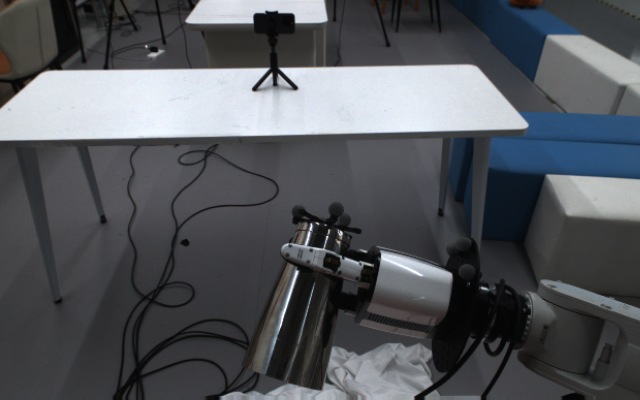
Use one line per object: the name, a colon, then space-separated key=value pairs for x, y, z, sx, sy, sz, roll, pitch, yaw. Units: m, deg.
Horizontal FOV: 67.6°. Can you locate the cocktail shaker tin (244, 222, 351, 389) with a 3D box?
cocktail shaker tin: x=-0.016 y=0.115 z=0.552 sx=0.093 sy=0.093 sz=0.170 roll=12 pitch=72 yaw=14
